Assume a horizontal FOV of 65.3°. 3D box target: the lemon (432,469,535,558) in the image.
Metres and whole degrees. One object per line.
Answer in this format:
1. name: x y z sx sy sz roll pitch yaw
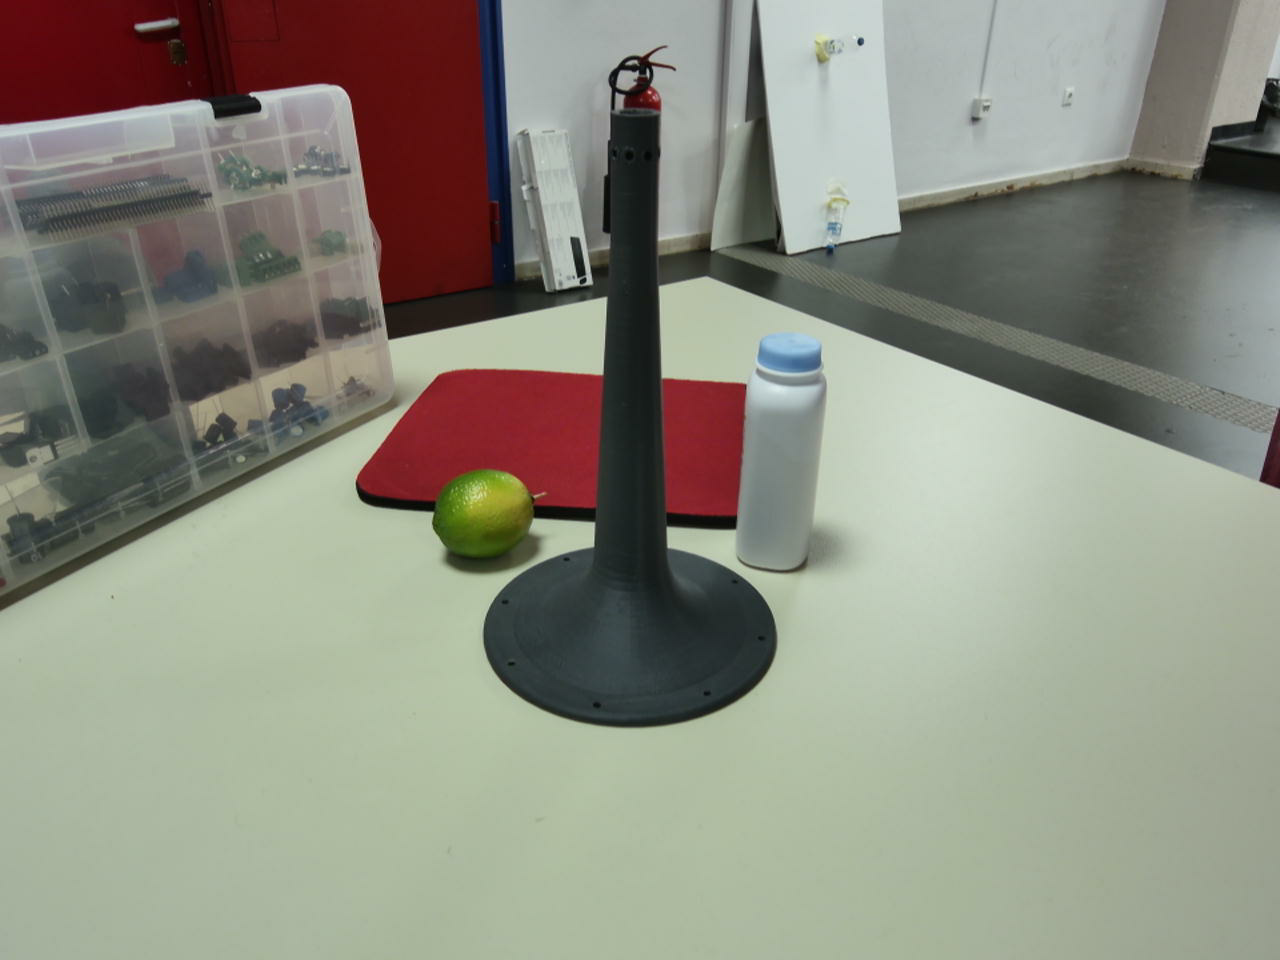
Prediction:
1. lemon: -0.090 0.019 0.574 0.055 0.050 0.054 7 26 12
